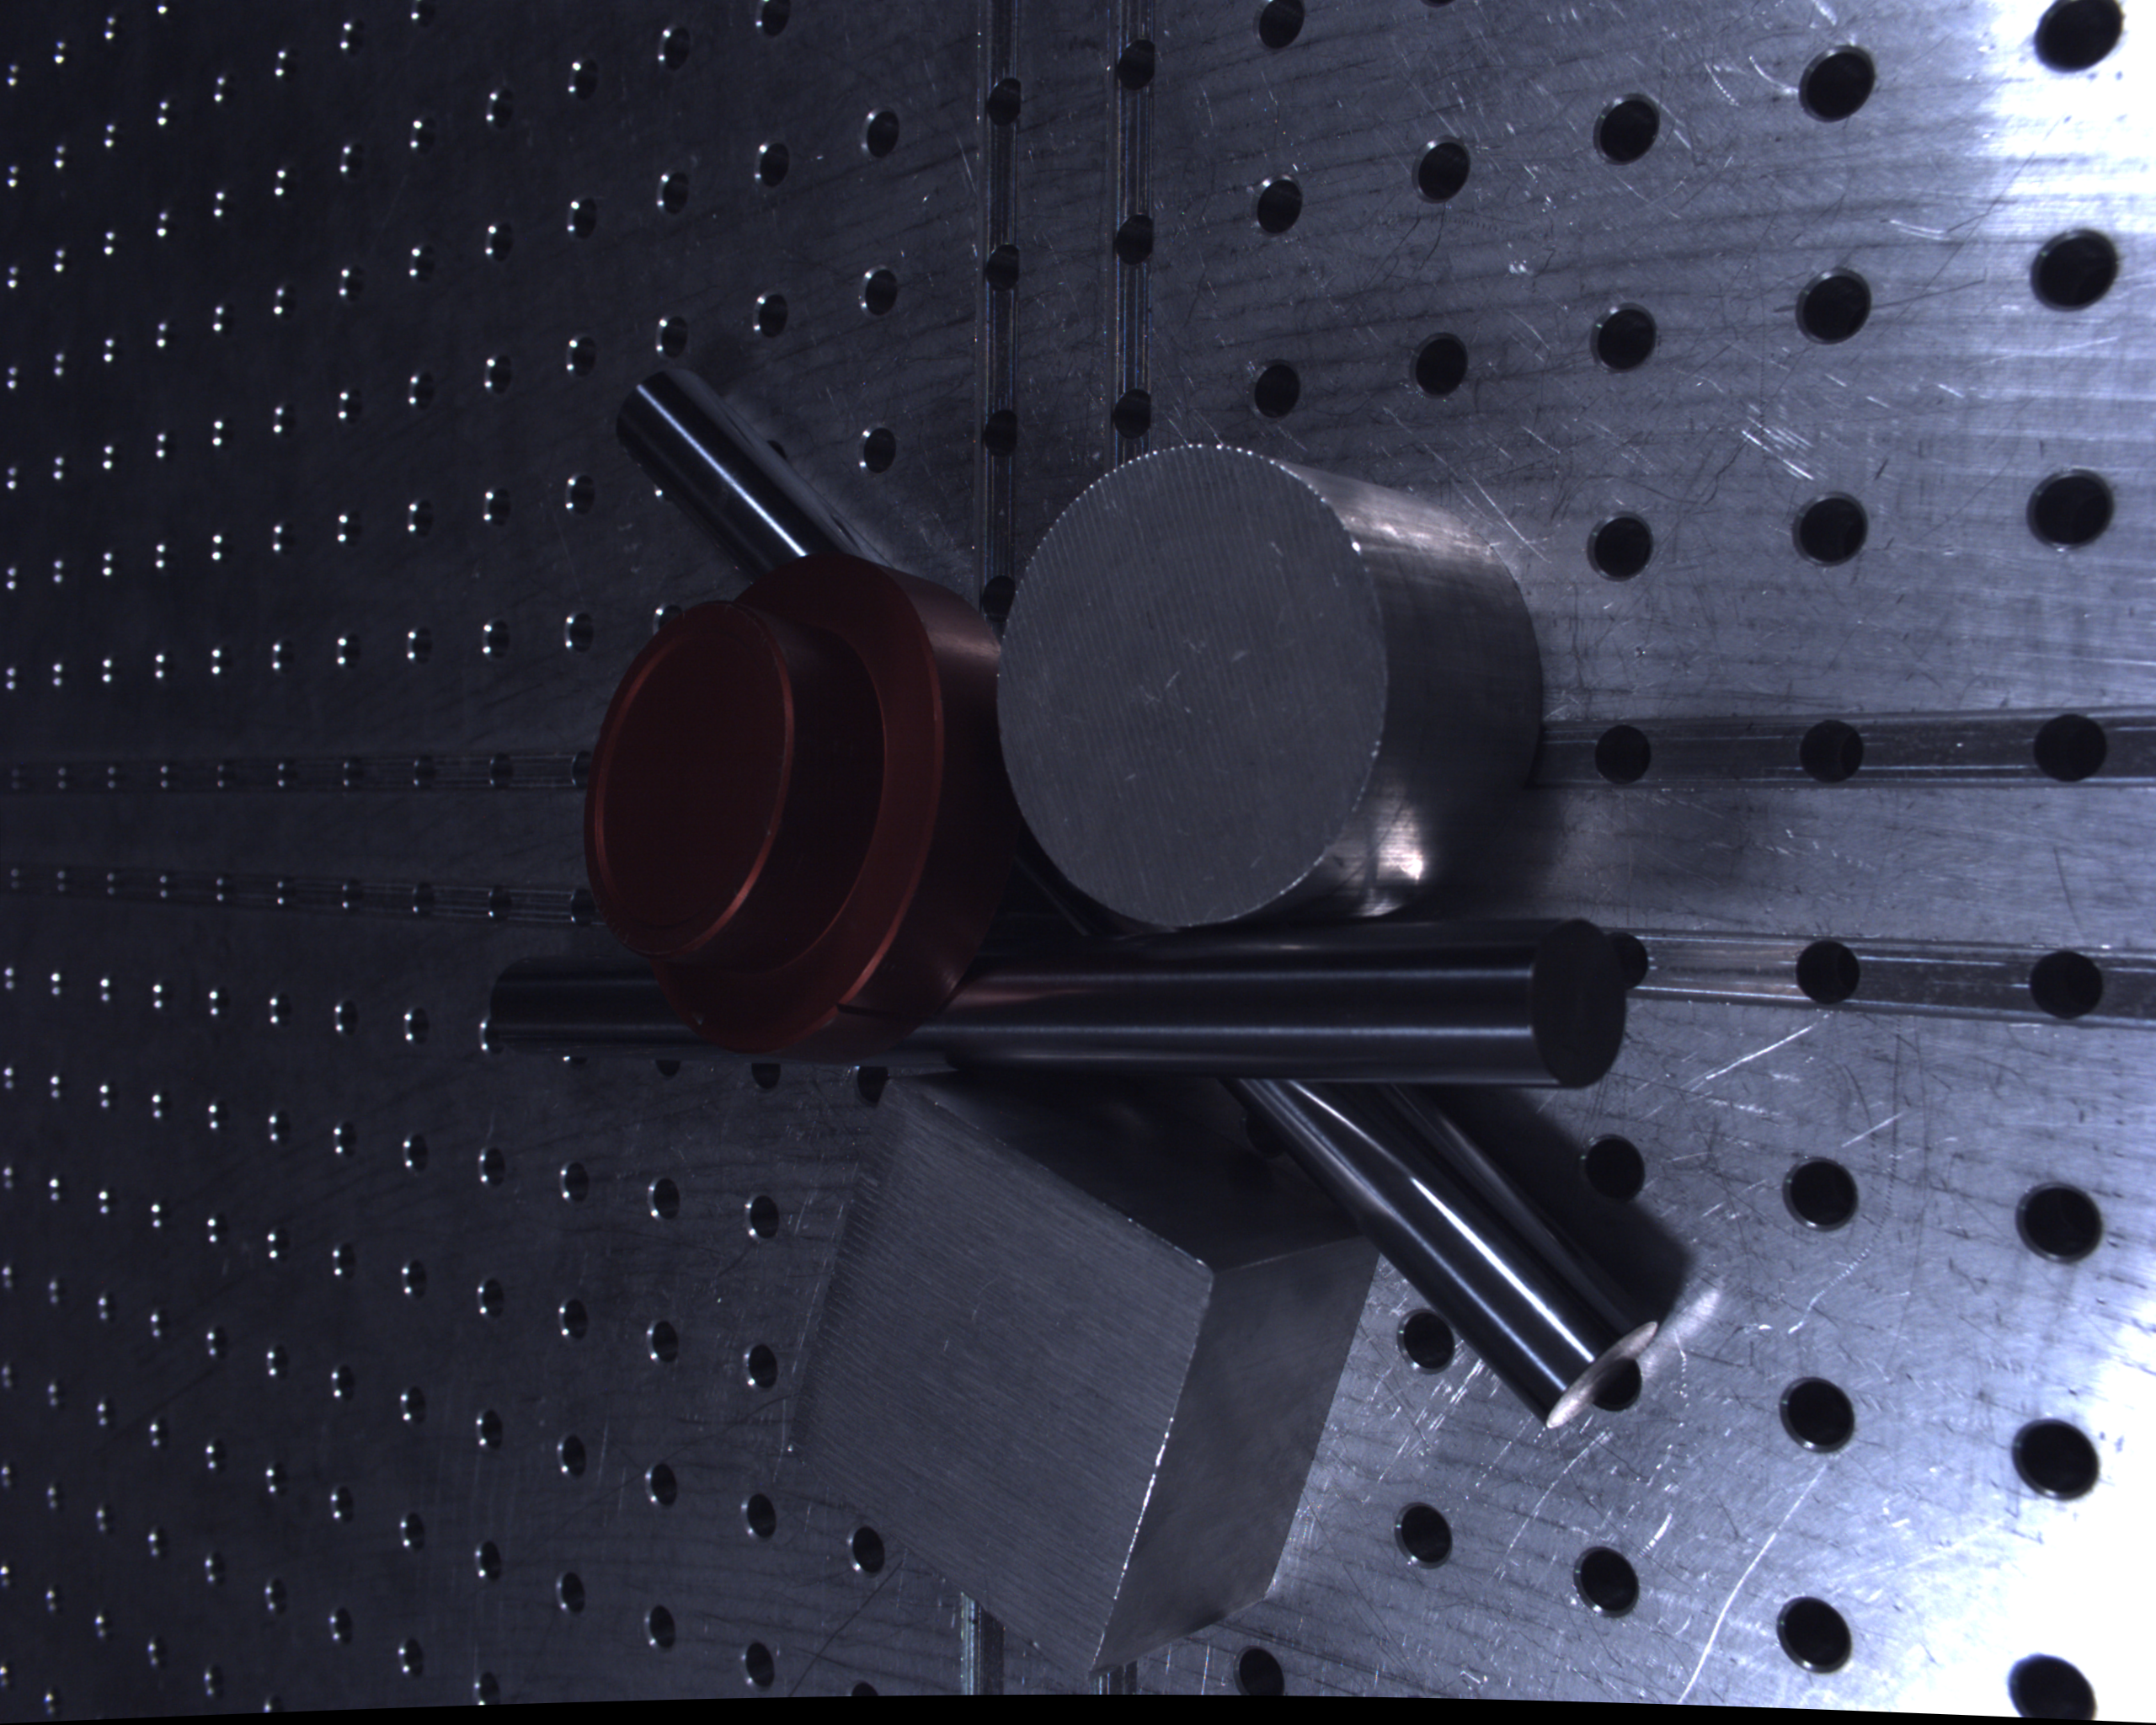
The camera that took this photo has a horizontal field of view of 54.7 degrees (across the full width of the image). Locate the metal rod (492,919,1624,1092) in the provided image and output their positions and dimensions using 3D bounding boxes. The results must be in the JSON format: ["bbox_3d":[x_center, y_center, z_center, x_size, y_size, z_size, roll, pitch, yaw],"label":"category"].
[{"bbox_3d":[-0.031,0.028,0.409,0.300,0.025,0.025,-4,88,47],"label":"metal rod"}]

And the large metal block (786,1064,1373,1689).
[{"bbox_3d":[-0.001,0.089,0.389,0.080,0.050,0.079,25,106,37],"label":"large metal block"}]

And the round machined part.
[{"bbox_3d":[-0.057,-0.012,0.400,0.098,0.042,0.098,-12,73,43],"label":"round machined part"}]

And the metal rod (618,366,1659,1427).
[{"bbox_3d":[-0.005,-0.011,0.412,0.300,0.025,0.025,46,117,30],"label":"metal rod"}]

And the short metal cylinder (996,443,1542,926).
[{"bbox_3d":[0.033,-0.029,0.363,0.080,0.050,0.079,0,90,39],"label":"short metal cylinder"}]
